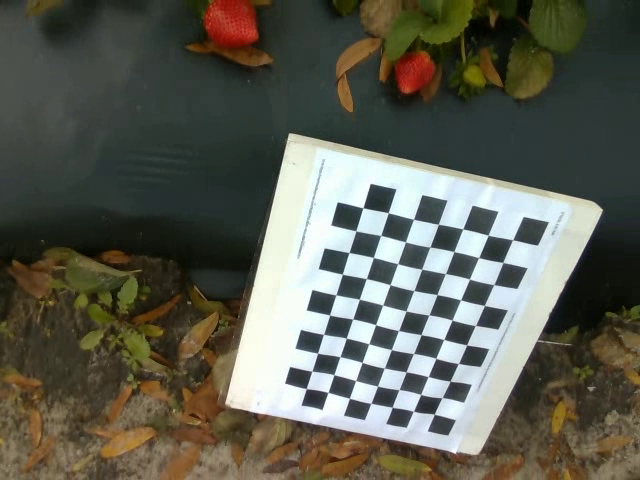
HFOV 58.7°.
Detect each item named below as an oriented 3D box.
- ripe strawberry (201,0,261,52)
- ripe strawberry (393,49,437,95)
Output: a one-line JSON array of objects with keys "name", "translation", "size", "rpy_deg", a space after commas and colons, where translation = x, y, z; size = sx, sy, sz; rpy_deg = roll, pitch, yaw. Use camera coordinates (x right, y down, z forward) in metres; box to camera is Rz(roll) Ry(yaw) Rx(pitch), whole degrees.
[{"name": "ripe strawberry", "translation": [-0.069, -0.175, 0.462], "size": [0.042, 0.047, 0.065], "rpy_deg": [-5, 36, -42]}, {"name": "ripe strawberry", "translation": [0.079, -0.137, 0.482], "size": [0.040, 0.042, 0.037], "rpy_deg": [22, -25, -11]}]
